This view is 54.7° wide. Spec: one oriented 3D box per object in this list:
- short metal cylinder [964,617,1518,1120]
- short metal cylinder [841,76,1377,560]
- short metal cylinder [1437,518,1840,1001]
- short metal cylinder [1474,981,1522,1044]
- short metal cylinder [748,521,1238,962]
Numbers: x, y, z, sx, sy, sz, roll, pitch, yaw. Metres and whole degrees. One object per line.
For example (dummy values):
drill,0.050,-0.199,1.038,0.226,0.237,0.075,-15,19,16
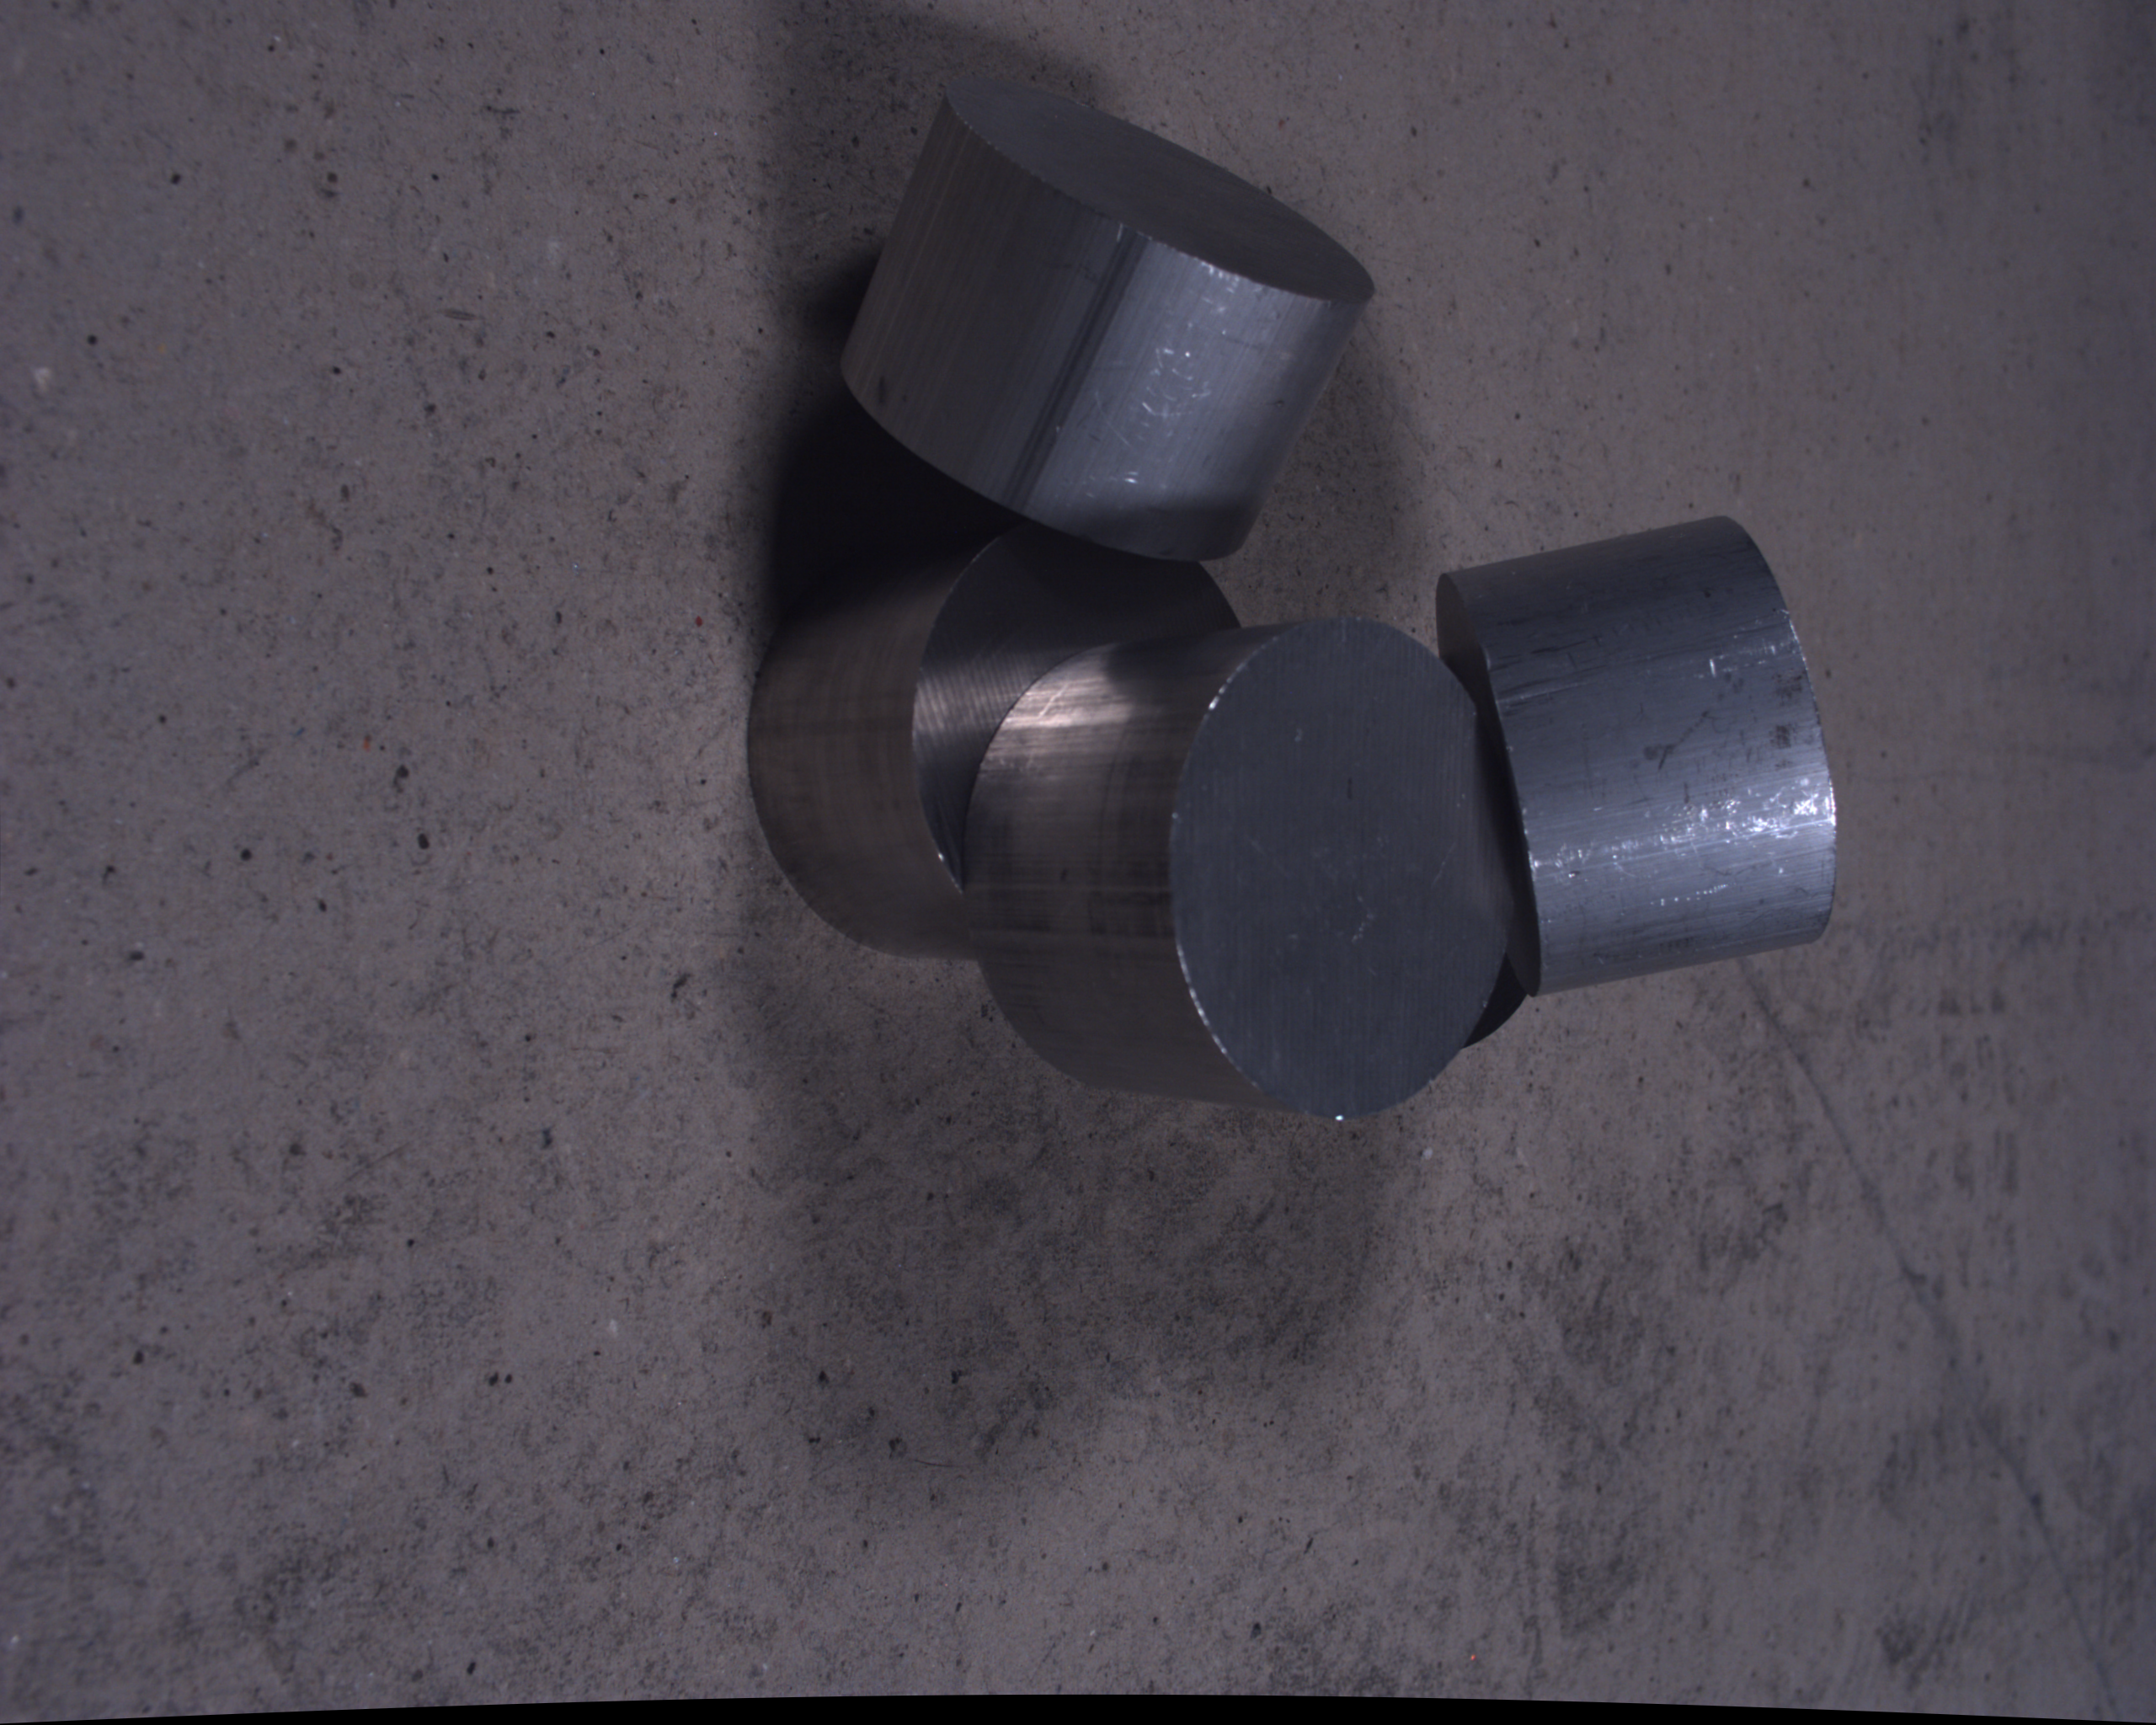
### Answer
short metal cylinder,0.028,0.001,0.350,0.081,0.050,0.079,0,90,-40
short metal cylinder,0.005,-0.096,0.368,0.081,0.080,0.050,0,129,-40
short metal cylinder,0.100,-0.019,0.382,0.050,0.080,0.079,-12,101,4
short metal cylinder,0.057,-0.001,0.440,0.081,0.050,0.079,0,90,-40
short metal cylinder,-0.012,-0.021,0.381,0.081,0.050,0.079,0,90,-40
